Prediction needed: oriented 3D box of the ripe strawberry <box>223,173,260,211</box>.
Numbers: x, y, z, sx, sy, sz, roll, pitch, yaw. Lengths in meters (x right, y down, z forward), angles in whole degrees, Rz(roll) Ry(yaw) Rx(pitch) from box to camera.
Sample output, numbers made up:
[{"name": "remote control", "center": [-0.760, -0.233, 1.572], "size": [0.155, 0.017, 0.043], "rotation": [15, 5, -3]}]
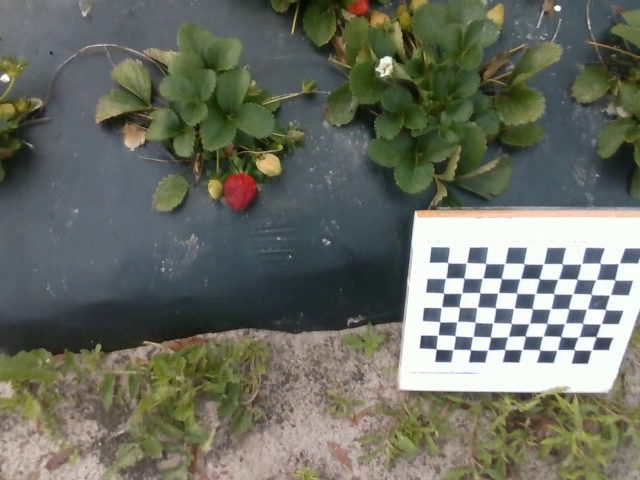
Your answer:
[{"name": "ripe strawberry", "center": [-0.100, -0.057, 0.871], "size": [0.047, 0.059, 0.045], "rotation": [-3, -37, 4]}]
